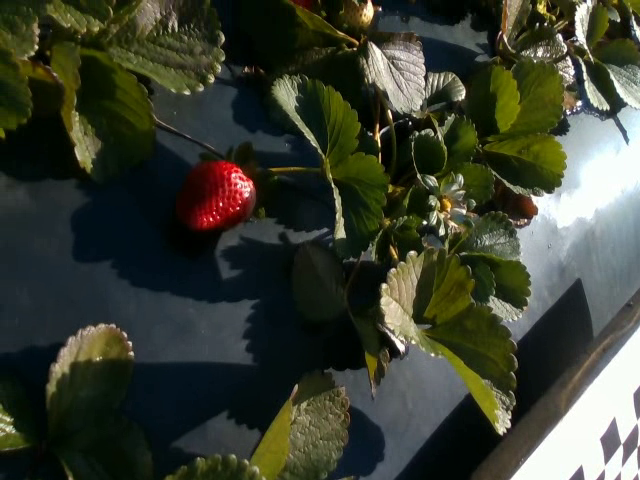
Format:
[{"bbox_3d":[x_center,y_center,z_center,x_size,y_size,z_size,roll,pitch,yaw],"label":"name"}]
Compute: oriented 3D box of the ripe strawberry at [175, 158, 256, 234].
[{"bbox_3d":[-0.054,-0.020,0.316,0.044,0.042,0.056,3,38,29],"label":"ripe strawberry"}]
